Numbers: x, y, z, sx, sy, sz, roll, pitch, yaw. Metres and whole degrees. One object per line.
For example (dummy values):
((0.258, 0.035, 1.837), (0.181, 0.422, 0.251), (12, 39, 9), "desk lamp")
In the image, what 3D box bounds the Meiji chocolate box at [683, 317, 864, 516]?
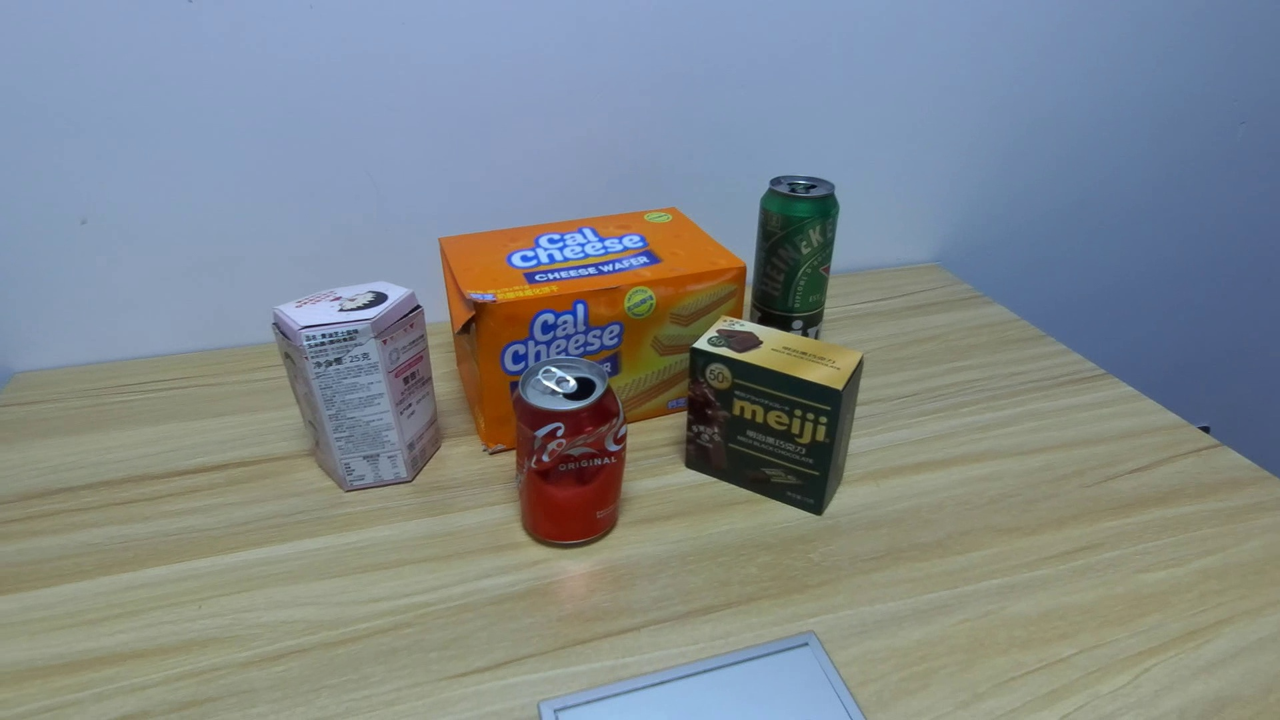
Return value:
((0.092, 0.038, 0.499), (0.109, 0.109, 0.056), (17, 36, 25), "Meiji chocolate box")

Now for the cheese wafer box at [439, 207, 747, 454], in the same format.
((-0.044, -0.037, 0.597), (0.228, 0.137, 0.149), (-11, 34, -19), "cheese wafer box")

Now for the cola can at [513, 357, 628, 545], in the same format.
((-0.048, 0.059, 0.458), (0.067, 0.117, 0.065), (-17, 36, -26), "cola can")

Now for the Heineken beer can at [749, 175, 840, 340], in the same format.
((0.132, -0.071, 0.622), (0.067, 0.169, 0.067), (1, 31, 0), "Heineken beer can")

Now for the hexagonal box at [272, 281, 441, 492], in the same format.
((-0.198, 0.017, 0.510), (0.085, 0.135, 0.092), (9, 32, 15), "hexagonal box")
